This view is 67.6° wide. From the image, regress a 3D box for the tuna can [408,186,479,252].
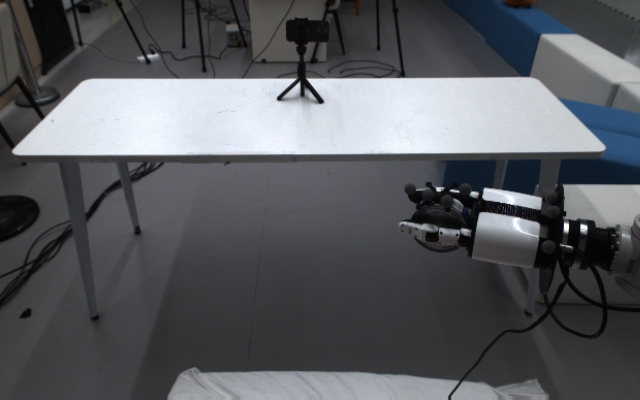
[{"bbox_3d":[0.184,0.034,0.732,0.085,0.085,0.034,15,35,17],"label":"tuna can"}]
